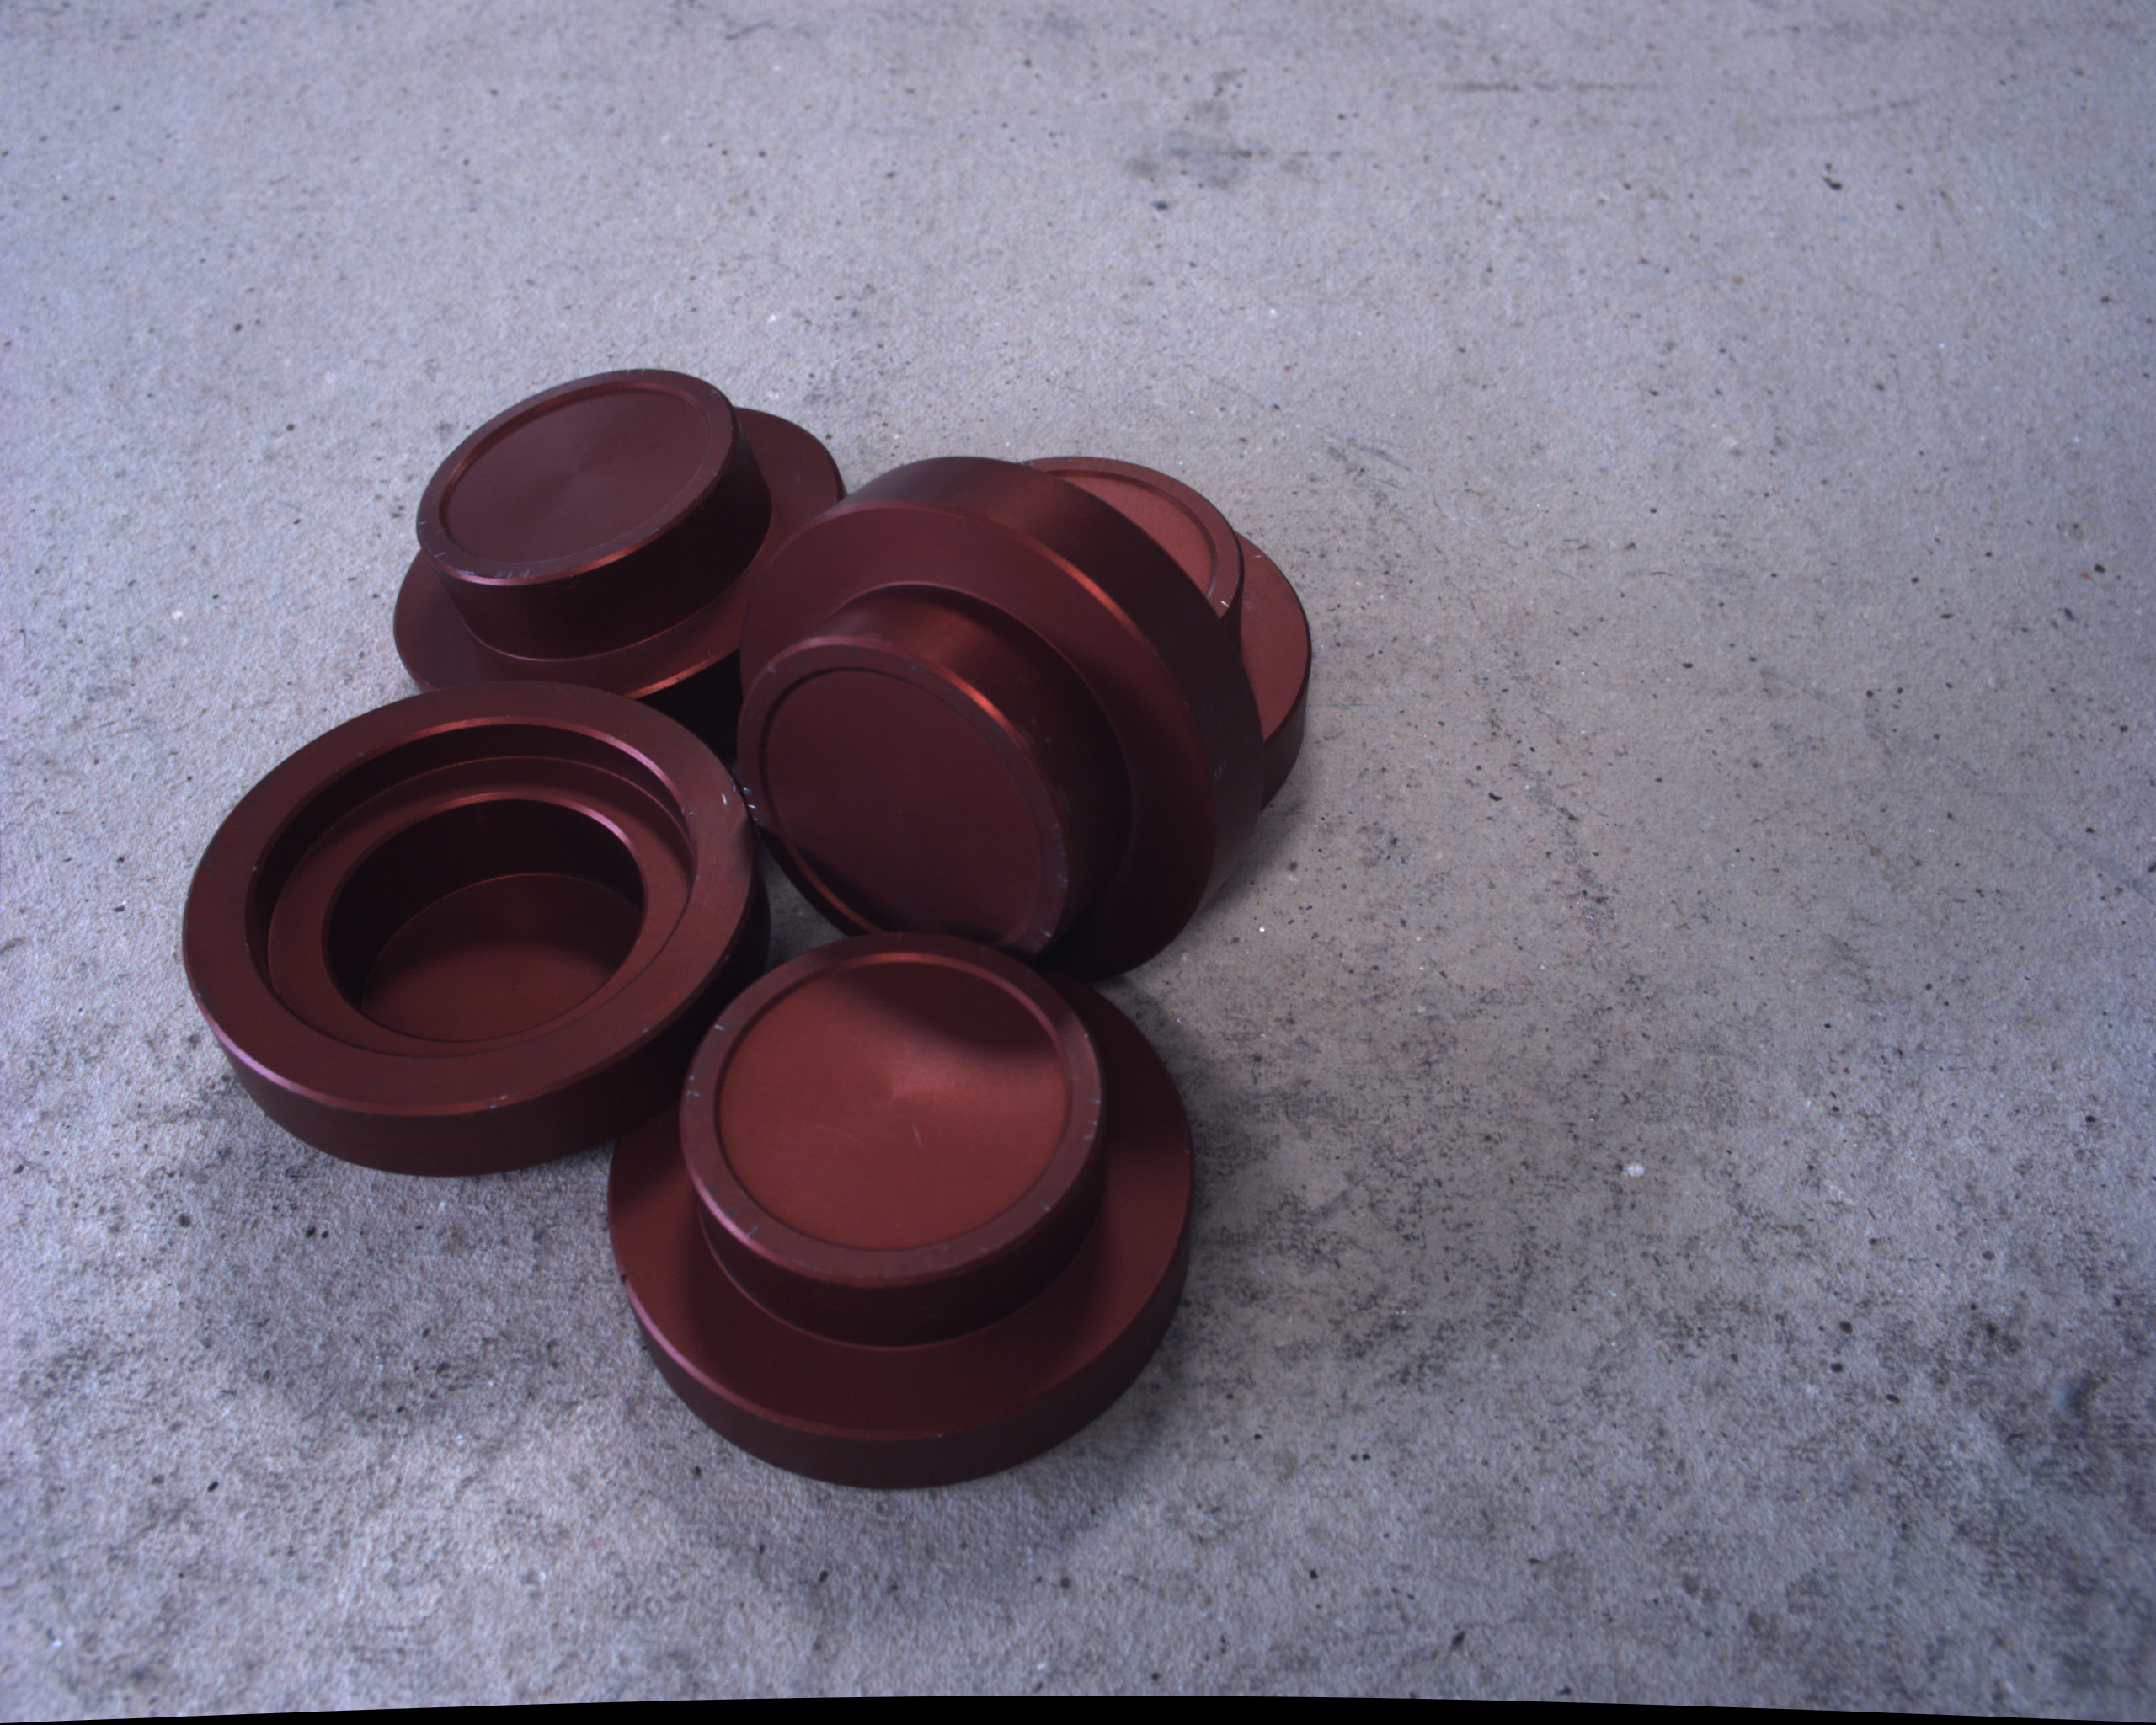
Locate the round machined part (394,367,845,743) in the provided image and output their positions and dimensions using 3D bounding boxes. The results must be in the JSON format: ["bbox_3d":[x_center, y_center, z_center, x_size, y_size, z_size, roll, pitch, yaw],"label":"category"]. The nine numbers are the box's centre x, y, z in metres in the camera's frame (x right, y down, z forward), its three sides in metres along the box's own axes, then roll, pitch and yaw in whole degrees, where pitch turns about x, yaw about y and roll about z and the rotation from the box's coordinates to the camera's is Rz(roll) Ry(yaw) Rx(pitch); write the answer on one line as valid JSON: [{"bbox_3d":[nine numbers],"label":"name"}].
[{"bbox_3d":[-0.097,-0.066,0.435,0.098,0.042,0.098,-9,47,10],"label":"round machined part"}]

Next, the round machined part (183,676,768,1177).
[{"bbox_3d":[-0.106,0.015,0.380,0.099,0.042,0.098,0,51,0],"label":"round machined part"}]

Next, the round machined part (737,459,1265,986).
[{"bbox_3d":[-0.020,-0.018,0.369,0.098,0.097,0.042,23,40,18],"label":"round machined part"}]

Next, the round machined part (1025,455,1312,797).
[{"bbox_3d":[-0.001,-0.047,0.433,0.099,0.042,0.098,1,49,-1],"label":"round machined part"}]

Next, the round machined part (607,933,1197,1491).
[{"bbox_3d":[-0.029,0.051,0.351,0.099,0.042,0.098,1,48,-1],"label":"round machined part"}]
